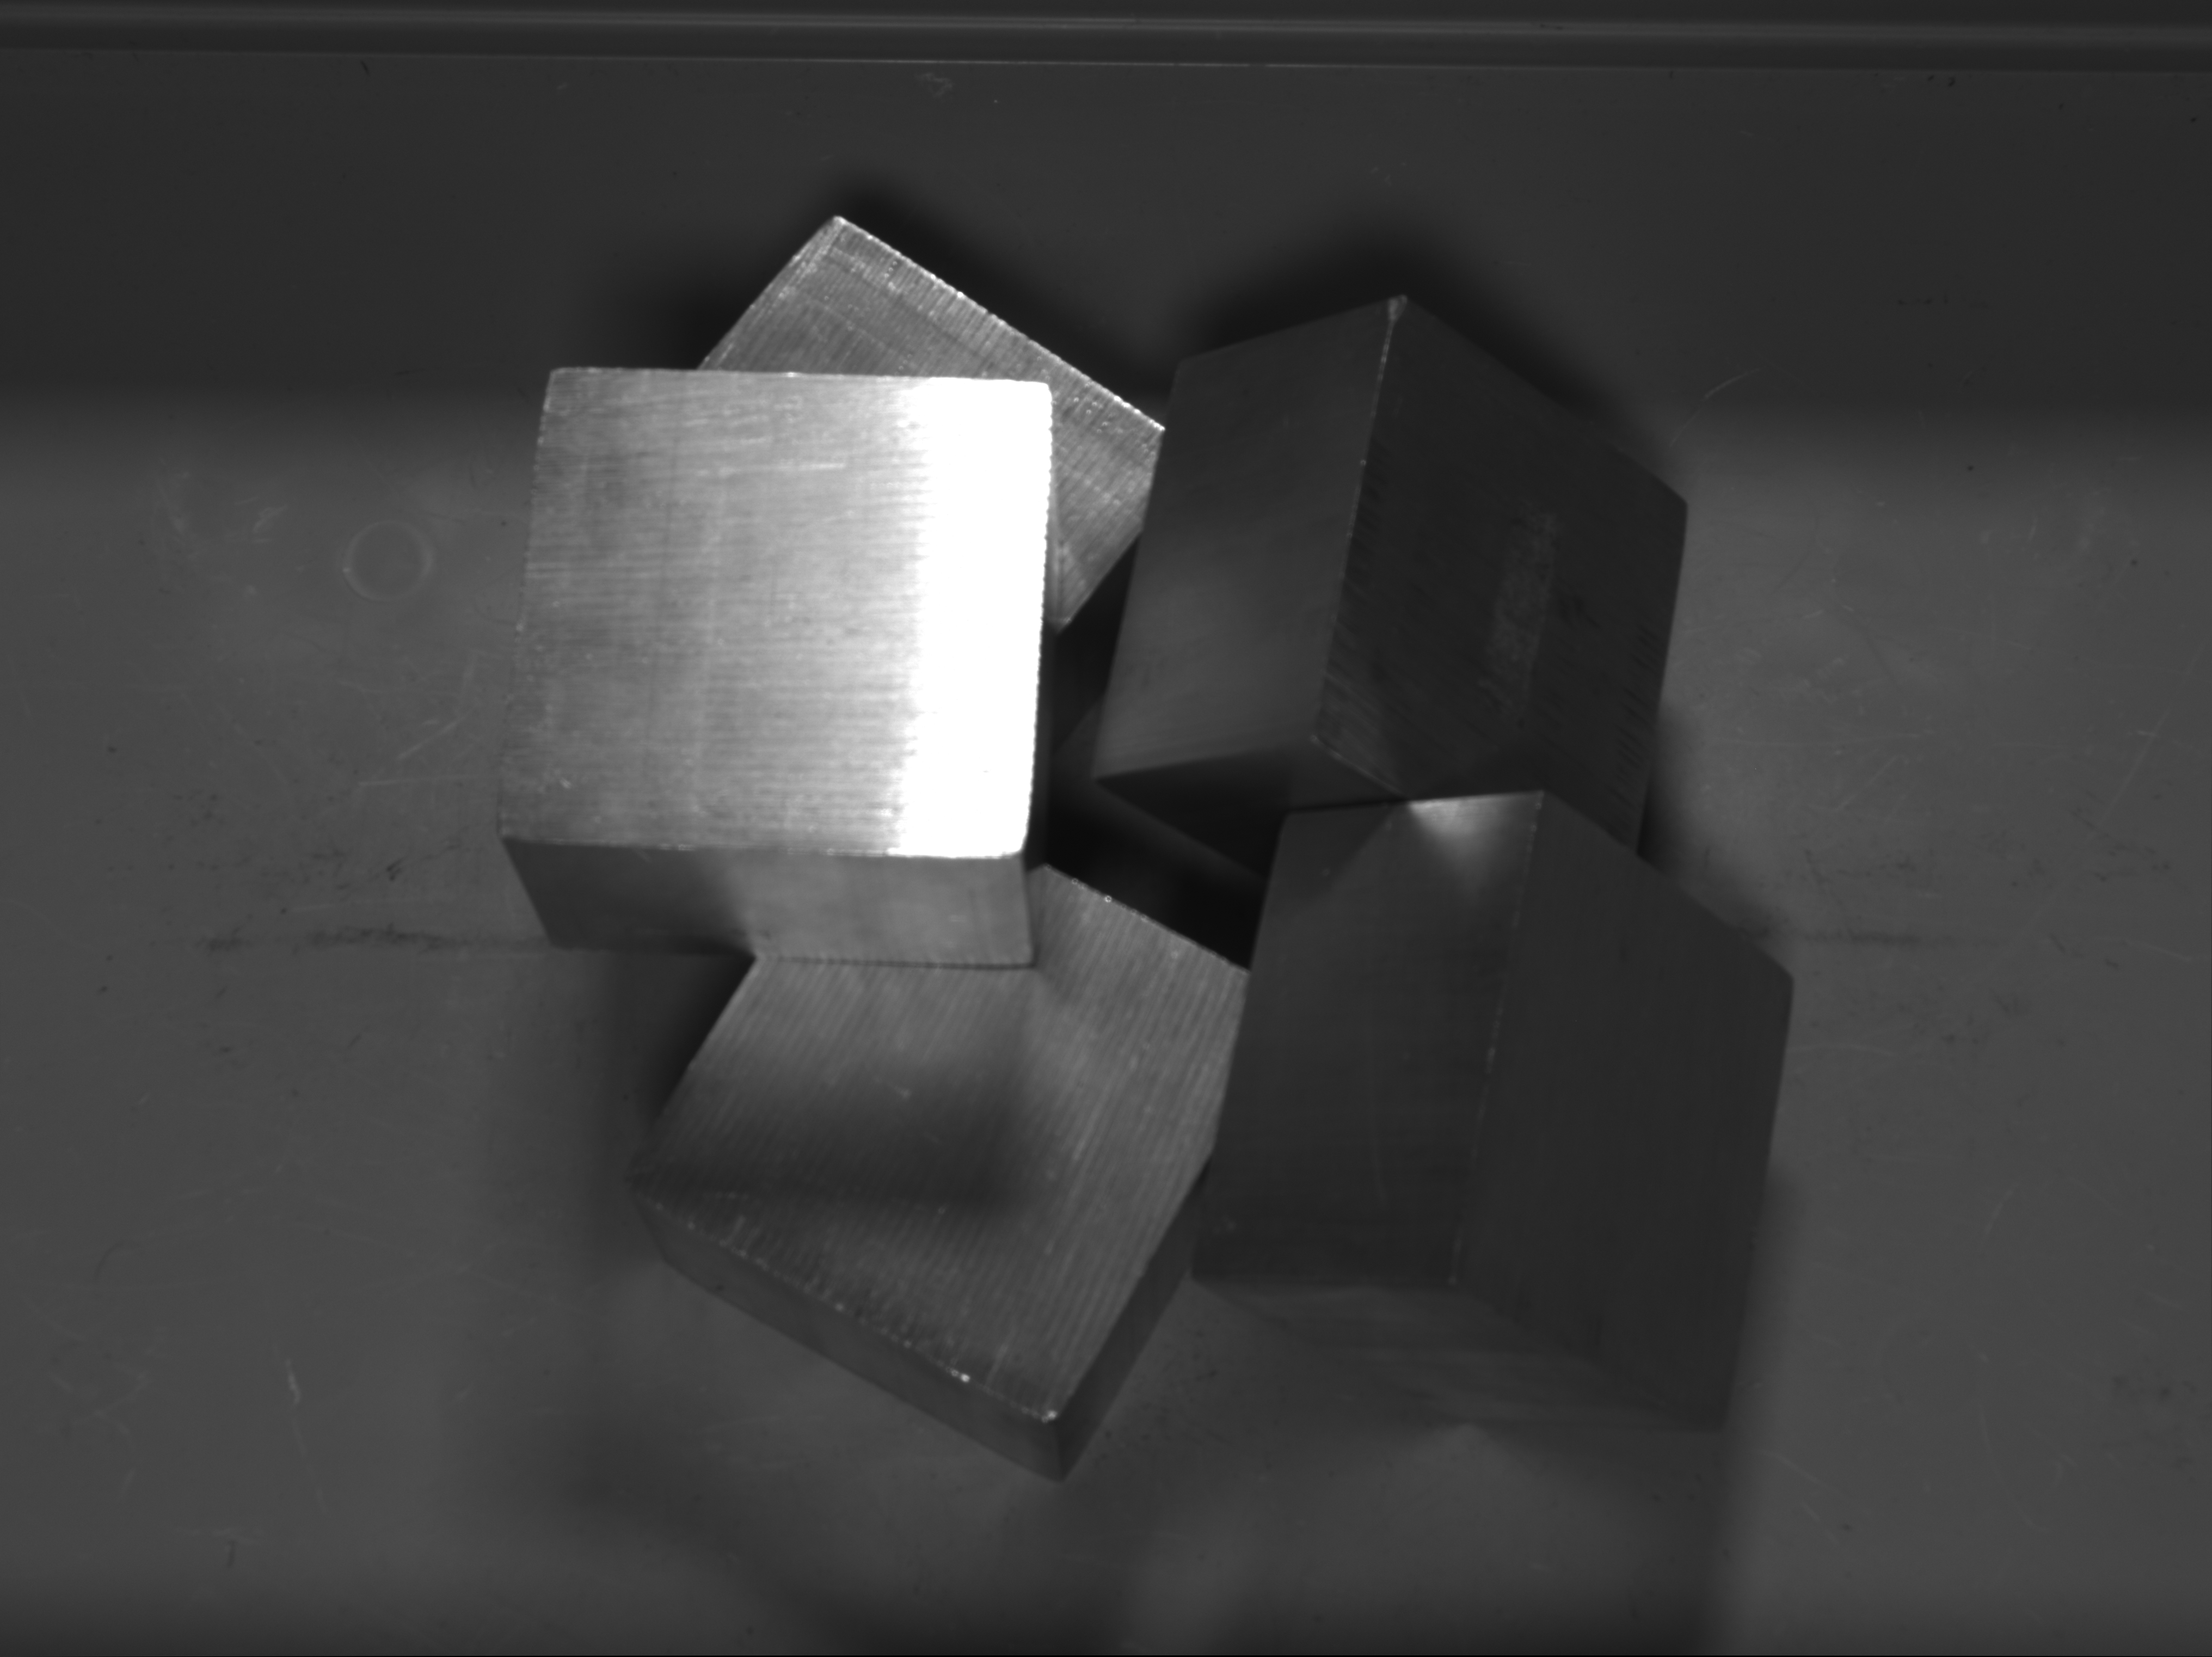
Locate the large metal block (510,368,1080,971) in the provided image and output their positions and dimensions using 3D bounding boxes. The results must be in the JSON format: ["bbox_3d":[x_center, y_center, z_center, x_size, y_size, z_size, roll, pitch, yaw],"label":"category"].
[{"bbox_3d":[-0.047,-0.025,0.585,0.080,0.050,0.080,2,69,2],"label":"large metal block"}]

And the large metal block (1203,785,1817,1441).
[{"bbox_3d":[0.067,0.048,0.590,0.050,0.080,0.080,-5,63,41],"label":"large metal block"}]

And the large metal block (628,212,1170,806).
[{"bbox_3d":[-0.037,-0.047,0.648,0.080,0.050,0.080,34,73,12],"label":"large metal block"}]

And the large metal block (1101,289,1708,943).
[{"bbox_3d":[0.052,-0.032,0.620,0.080,0.050,0.080,29,64,-38],"label":"large metal block"}]

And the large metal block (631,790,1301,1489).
[{"bbox_3d":[-0.020,0.051,0.609,0.080,0.050,0.080,28,72,10],"label":"large metal block"}]
